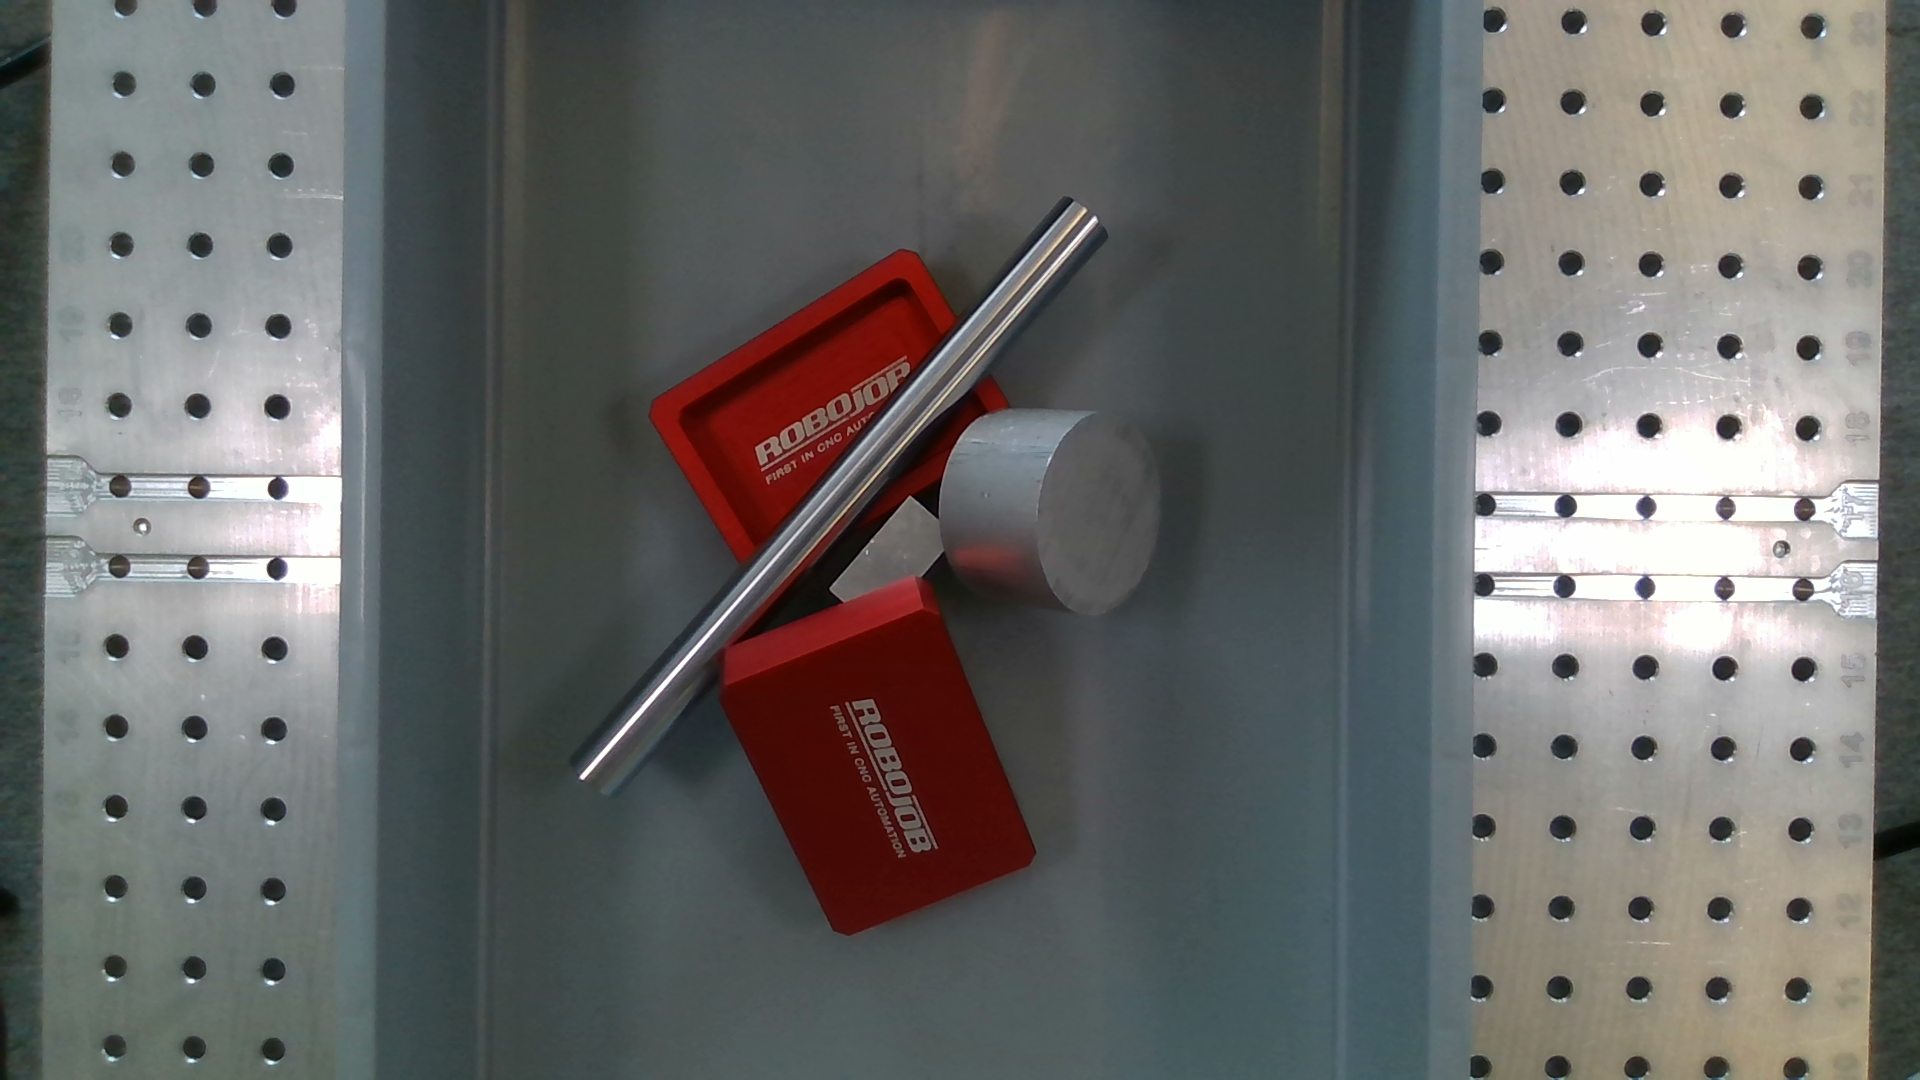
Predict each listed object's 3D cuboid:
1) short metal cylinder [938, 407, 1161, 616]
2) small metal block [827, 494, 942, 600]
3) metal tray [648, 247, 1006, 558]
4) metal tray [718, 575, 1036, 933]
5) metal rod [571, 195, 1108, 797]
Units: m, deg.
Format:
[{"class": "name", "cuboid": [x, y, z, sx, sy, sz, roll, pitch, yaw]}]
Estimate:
[{"class": "short metal cylinder", "cuboid": [0.037, -0.013, 0.552, 0.050, 0.080, 0.080, 8, 91, 42]}, {"class": "small metal block", "cuboid": [-0.027, 0.009, 0.573, 0.025, 0.050, 0.050, 41, 90, 0]}, {"class": "metal tray", "cuboid": [-0.053, -0.051, 0.583, 0.130, 0.030, 0.090, -32, 90, 0]}, {"class": "metal tray", "cuboid": [-0.032, 0.089, 0.559, 0.090, 0.030, 0.130, -21, 115, 0]}, {"class": "metal rod", "cuboid": [-0.049, -0.017, 0.556, 0.025, 0.025, 0.300, 41, 91, 0]}]
